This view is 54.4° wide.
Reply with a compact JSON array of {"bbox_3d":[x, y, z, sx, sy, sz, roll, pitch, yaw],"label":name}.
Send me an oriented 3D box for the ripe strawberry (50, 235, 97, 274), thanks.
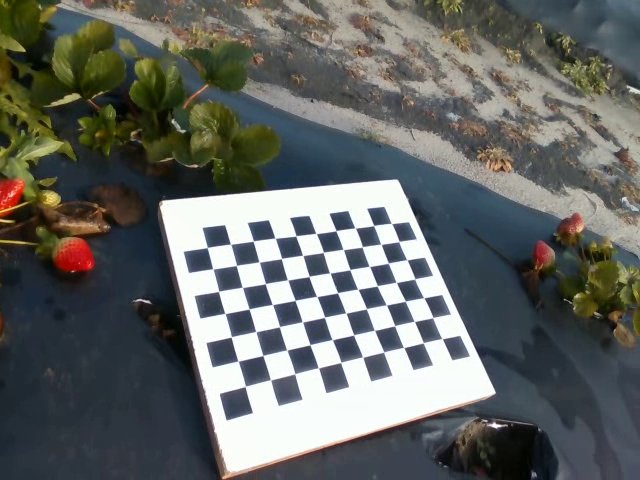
[{"bbox_3d":[-0.220,0.014,0.553,0.043,0.035,0.029,35,-38,8],"label":"ripe strawberry"}]
